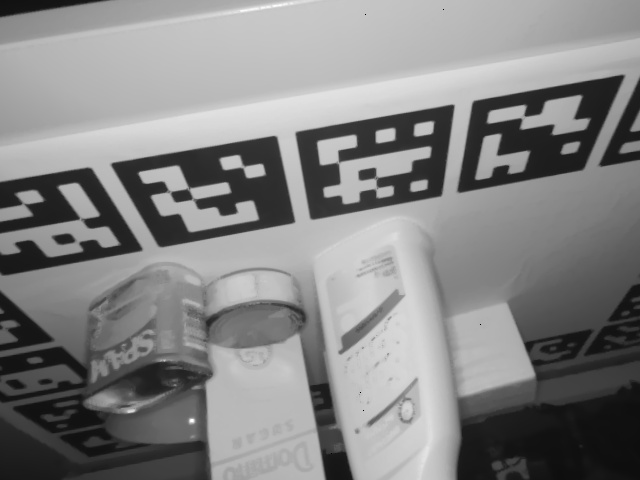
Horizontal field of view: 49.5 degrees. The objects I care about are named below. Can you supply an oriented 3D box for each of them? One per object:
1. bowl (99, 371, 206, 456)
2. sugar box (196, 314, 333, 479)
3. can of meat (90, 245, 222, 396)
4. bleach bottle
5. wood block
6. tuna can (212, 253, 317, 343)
[{"bbox_3d":[-0.134,0.156,0.686,0.162,0.055,0.160,-11,144,-7],"label":"bowl"},{"bbox_3d":[-0.053,0.144,0.587,0.094,0.177,0.044,1,140,-21],"label":"sugar box"},{"bbox_3d":[-0.130,0.063,0.545,0.100,0.084,0.058,-28,144,23],"label":"can of meat"},{"bbox_3d":[0.066,0.100,0.505,0.101,0.252,0.068,-26,142,18],"label":"bleach bottle"},{"bbox_3d":[0.127,0.148,0.728,0.206,0.090,0.090,-15,139,5],"label":"wood block"},{"bbox_3d":[-0.047,0.049,0.581,0.086,0.034,0.085,-8,141,-6],"label":"tuna can"}]
